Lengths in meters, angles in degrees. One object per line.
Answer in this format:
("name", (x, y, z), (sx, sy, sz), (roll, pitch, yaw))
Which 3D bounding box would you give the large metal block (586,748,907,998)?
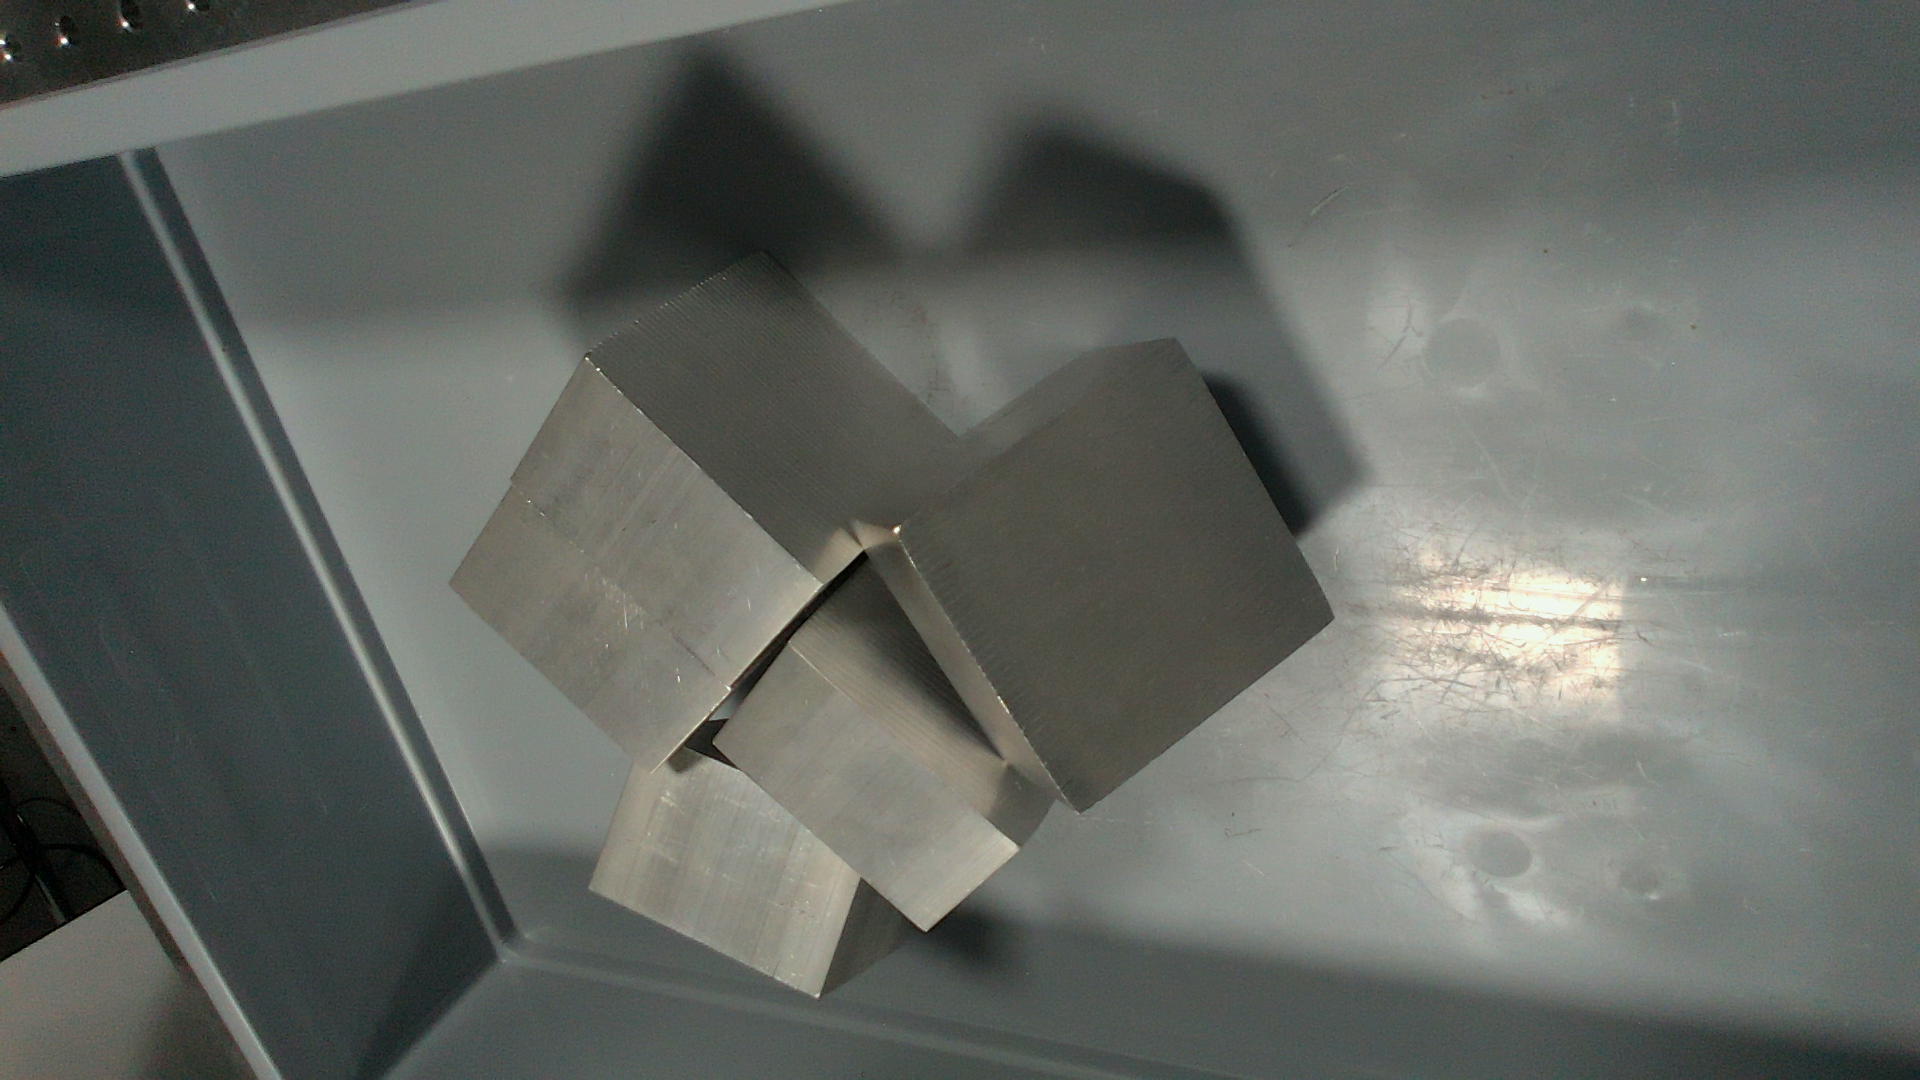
("large metal block", (-0.056, 0.095, 0.437), (0.080, 0.080, 0.050), (20, 92, 16))

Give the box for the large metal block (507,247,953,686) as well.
("large metal block", (-0.058, -0.022, 0.373), (0.080, 0.080, 0.050), (43, 129, -2))

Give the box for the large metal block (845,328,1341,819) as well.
("large metal block", (0.031, 0.006, 0.335), (0.080, 0.080, 0.050), (58, 167, -13))

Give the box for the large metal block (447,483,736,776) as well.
("large metal block", (-0.086, 0.007, 0.407), (0.080, 0.080, 0.050), (44, 129, -3))

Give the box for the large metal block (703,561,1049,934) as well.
("large metal block", (-0.010, 0.048, 0.390), (0.080, 0.080, 0.050), (41, 129, 0))
